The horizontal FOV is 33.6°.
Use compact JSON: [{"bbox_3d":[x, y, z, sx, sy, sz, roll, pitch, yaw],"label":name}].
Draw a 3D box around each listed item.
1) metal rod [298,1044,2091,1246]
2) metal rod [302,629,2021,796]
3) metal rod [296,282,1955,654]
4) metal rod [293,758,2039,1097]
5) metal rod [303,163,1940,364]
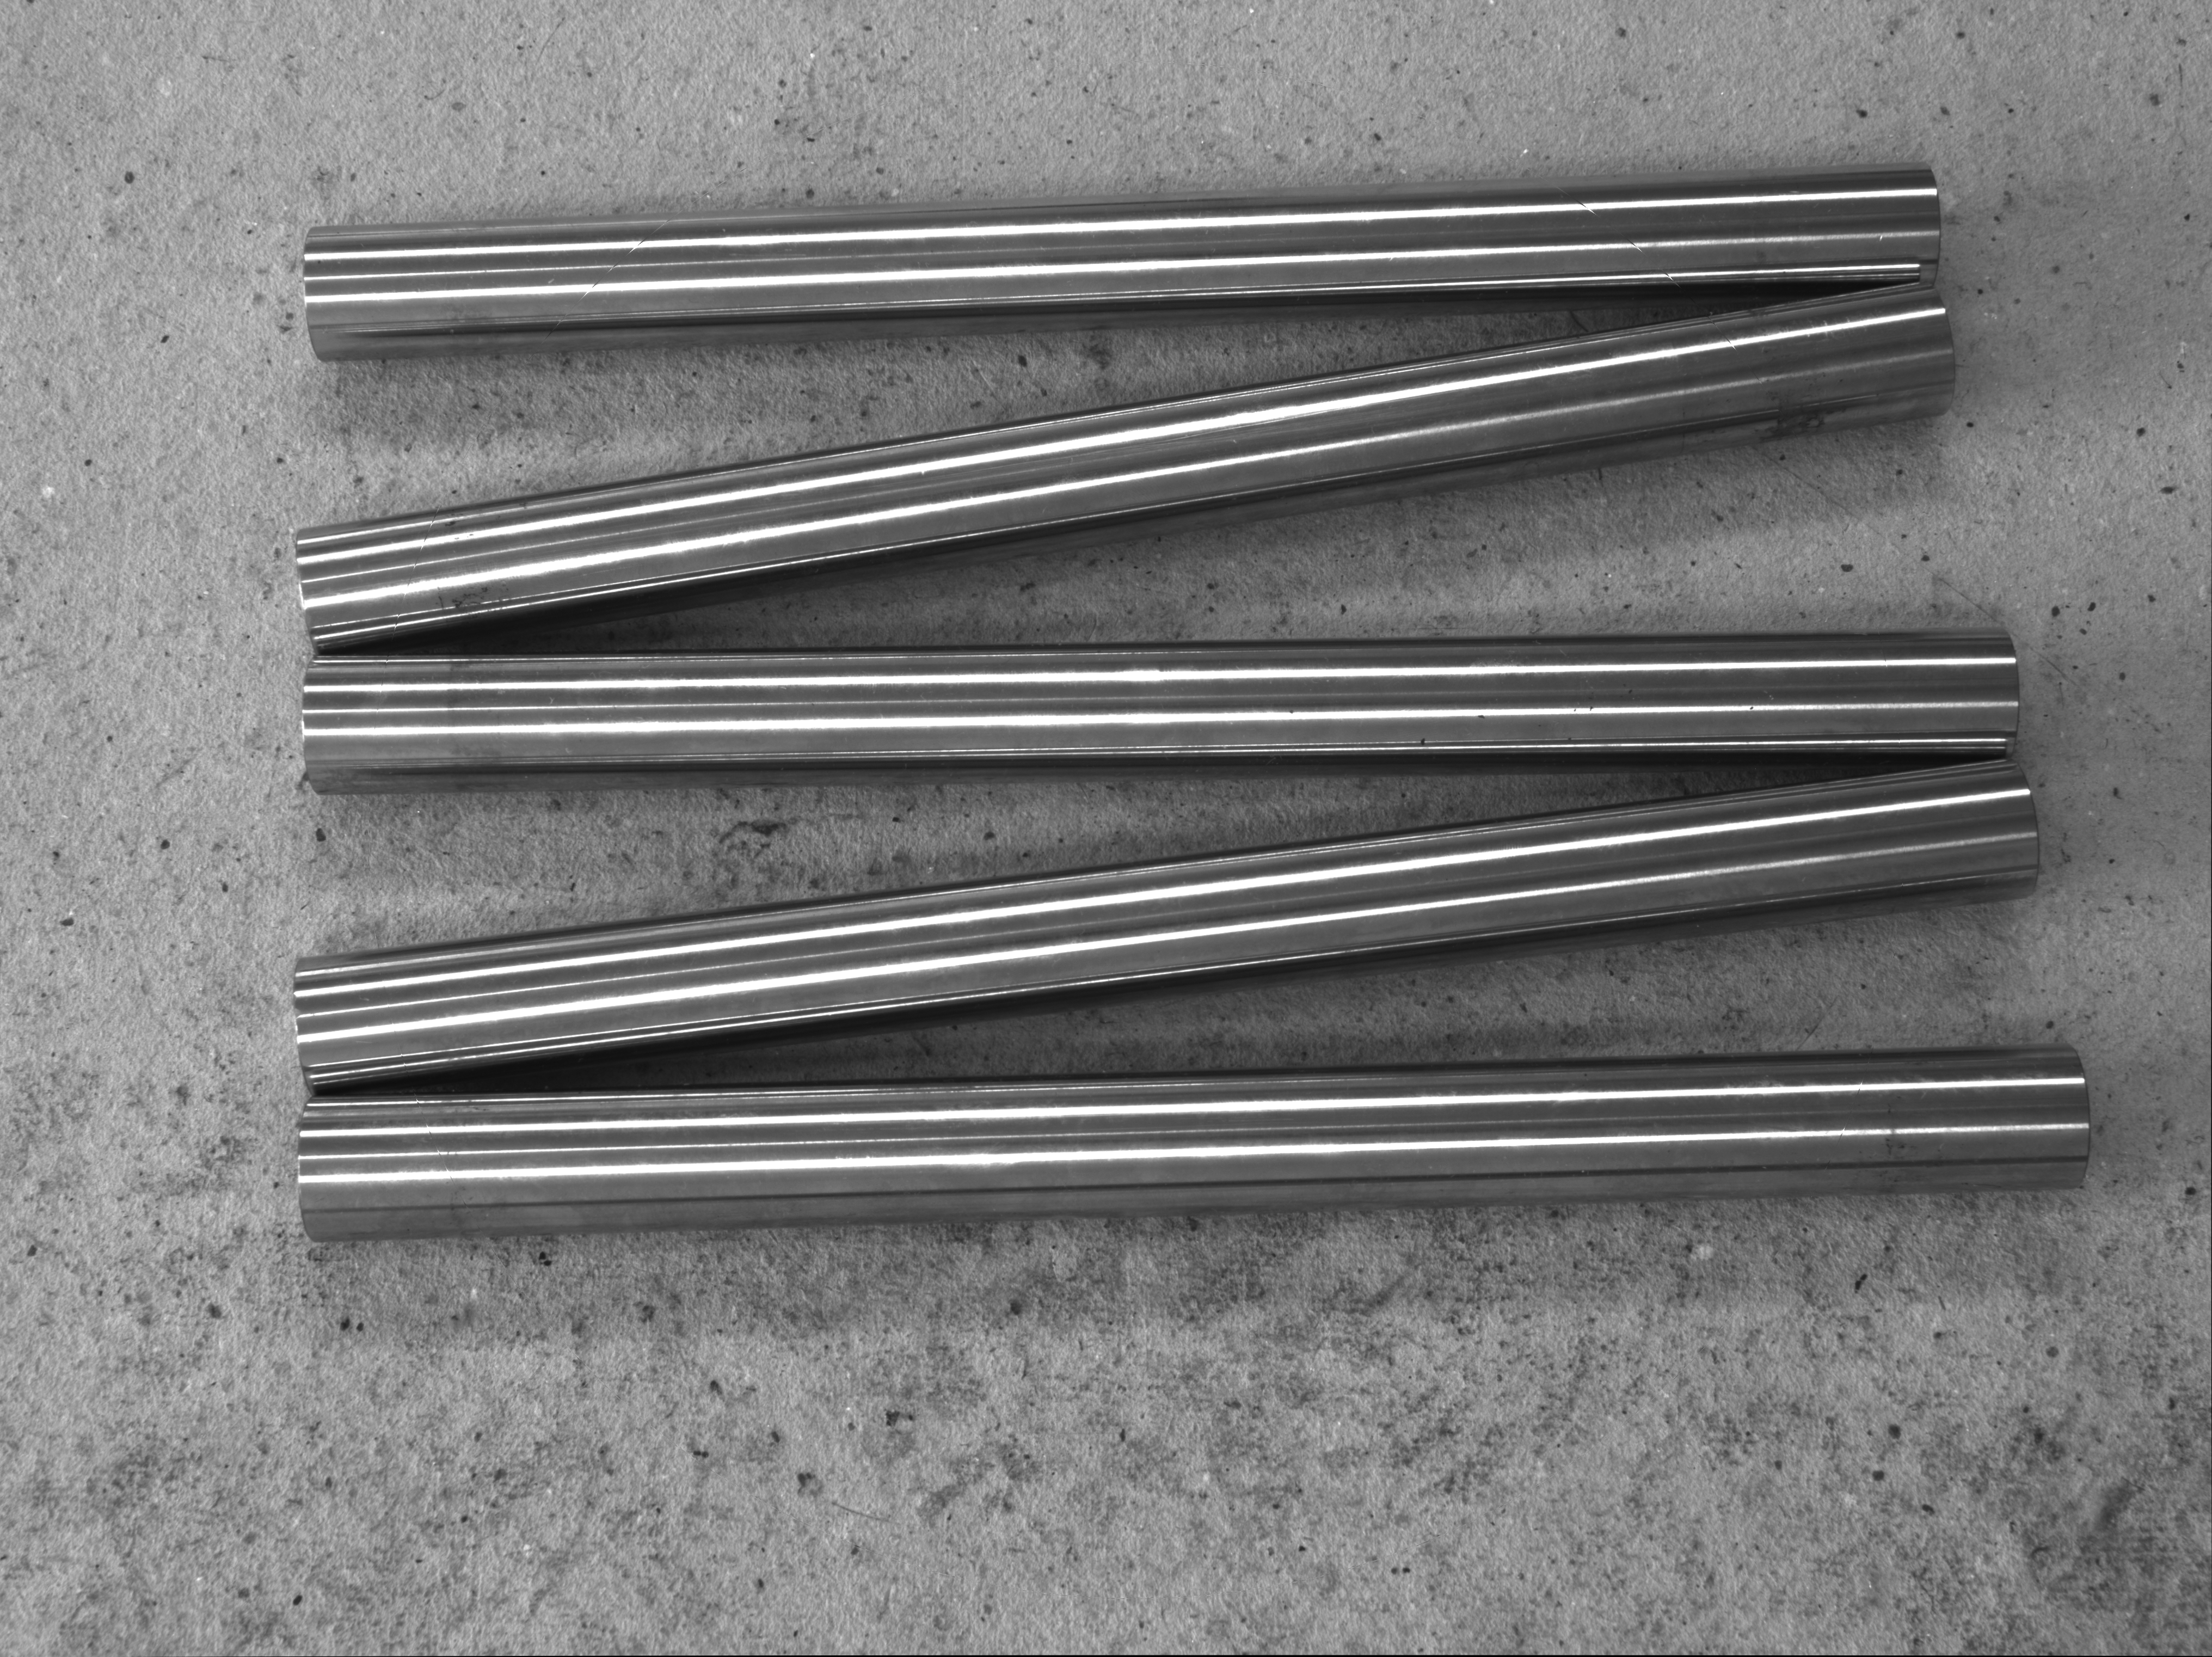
[{"bbox_3d":[0.015,0.054,0.625,0.300,0.025,0.025,-2,70,-1],"label":"metal rod"},{"bbox_3d":[0.010,-0.021,0.652,0.300,0.025,0.025,-1,70,-1],"label":"metal rod"},{"bbox_3d":[0.005,-0.065,0.669,0.300,0.025,0.025,-9,70,-3],"label":"metal rod"},{"bbox_3d":[0.011,0.017,0.639,0.300,0.025,0.025,-7,70,-3],"label":"metal rod"},{"bbox_3d":[0.003,-0.105,0.684,0.300,0.025,0.025,-2,70,-1],"label":"metal rod"}]
